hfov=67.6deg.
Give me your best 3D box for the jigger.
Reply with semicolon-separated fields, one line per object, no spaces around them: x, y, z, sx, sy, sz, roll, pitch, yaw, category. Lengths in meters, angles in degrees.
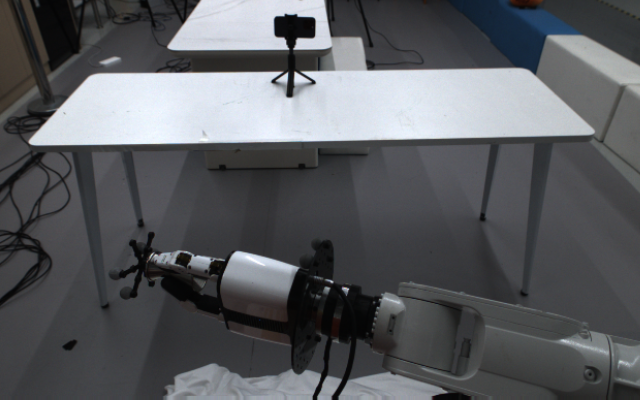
-0.177;0.086;0.621;0.071;0.043;0.043;8;35;14;jigger
